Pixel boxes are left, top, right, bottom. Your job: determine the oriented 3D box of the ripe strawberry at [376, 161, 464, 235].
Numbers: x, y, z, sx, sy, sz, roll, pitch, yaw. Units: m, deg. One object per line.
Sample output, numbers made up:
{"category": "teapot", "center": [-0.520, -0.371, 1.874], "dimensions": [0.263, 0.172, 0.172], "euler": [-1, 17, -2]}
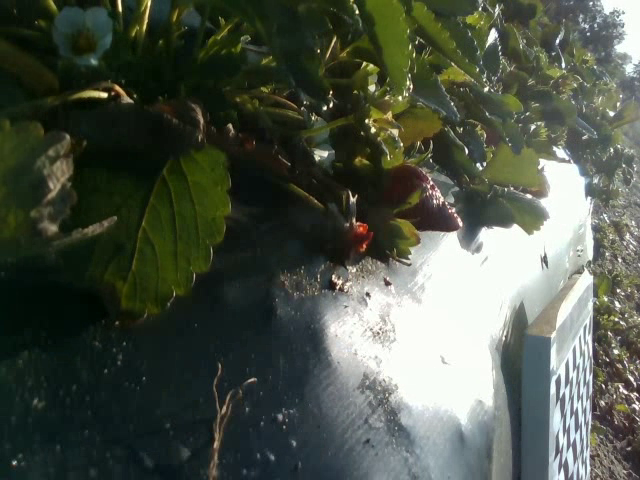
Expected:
{"category": "ripe strawberry", "center": [0.064, -0.021, 0.354], "dimensions": [0.051, 0.041, 0.052], "euler": [27, 46, 8]}
